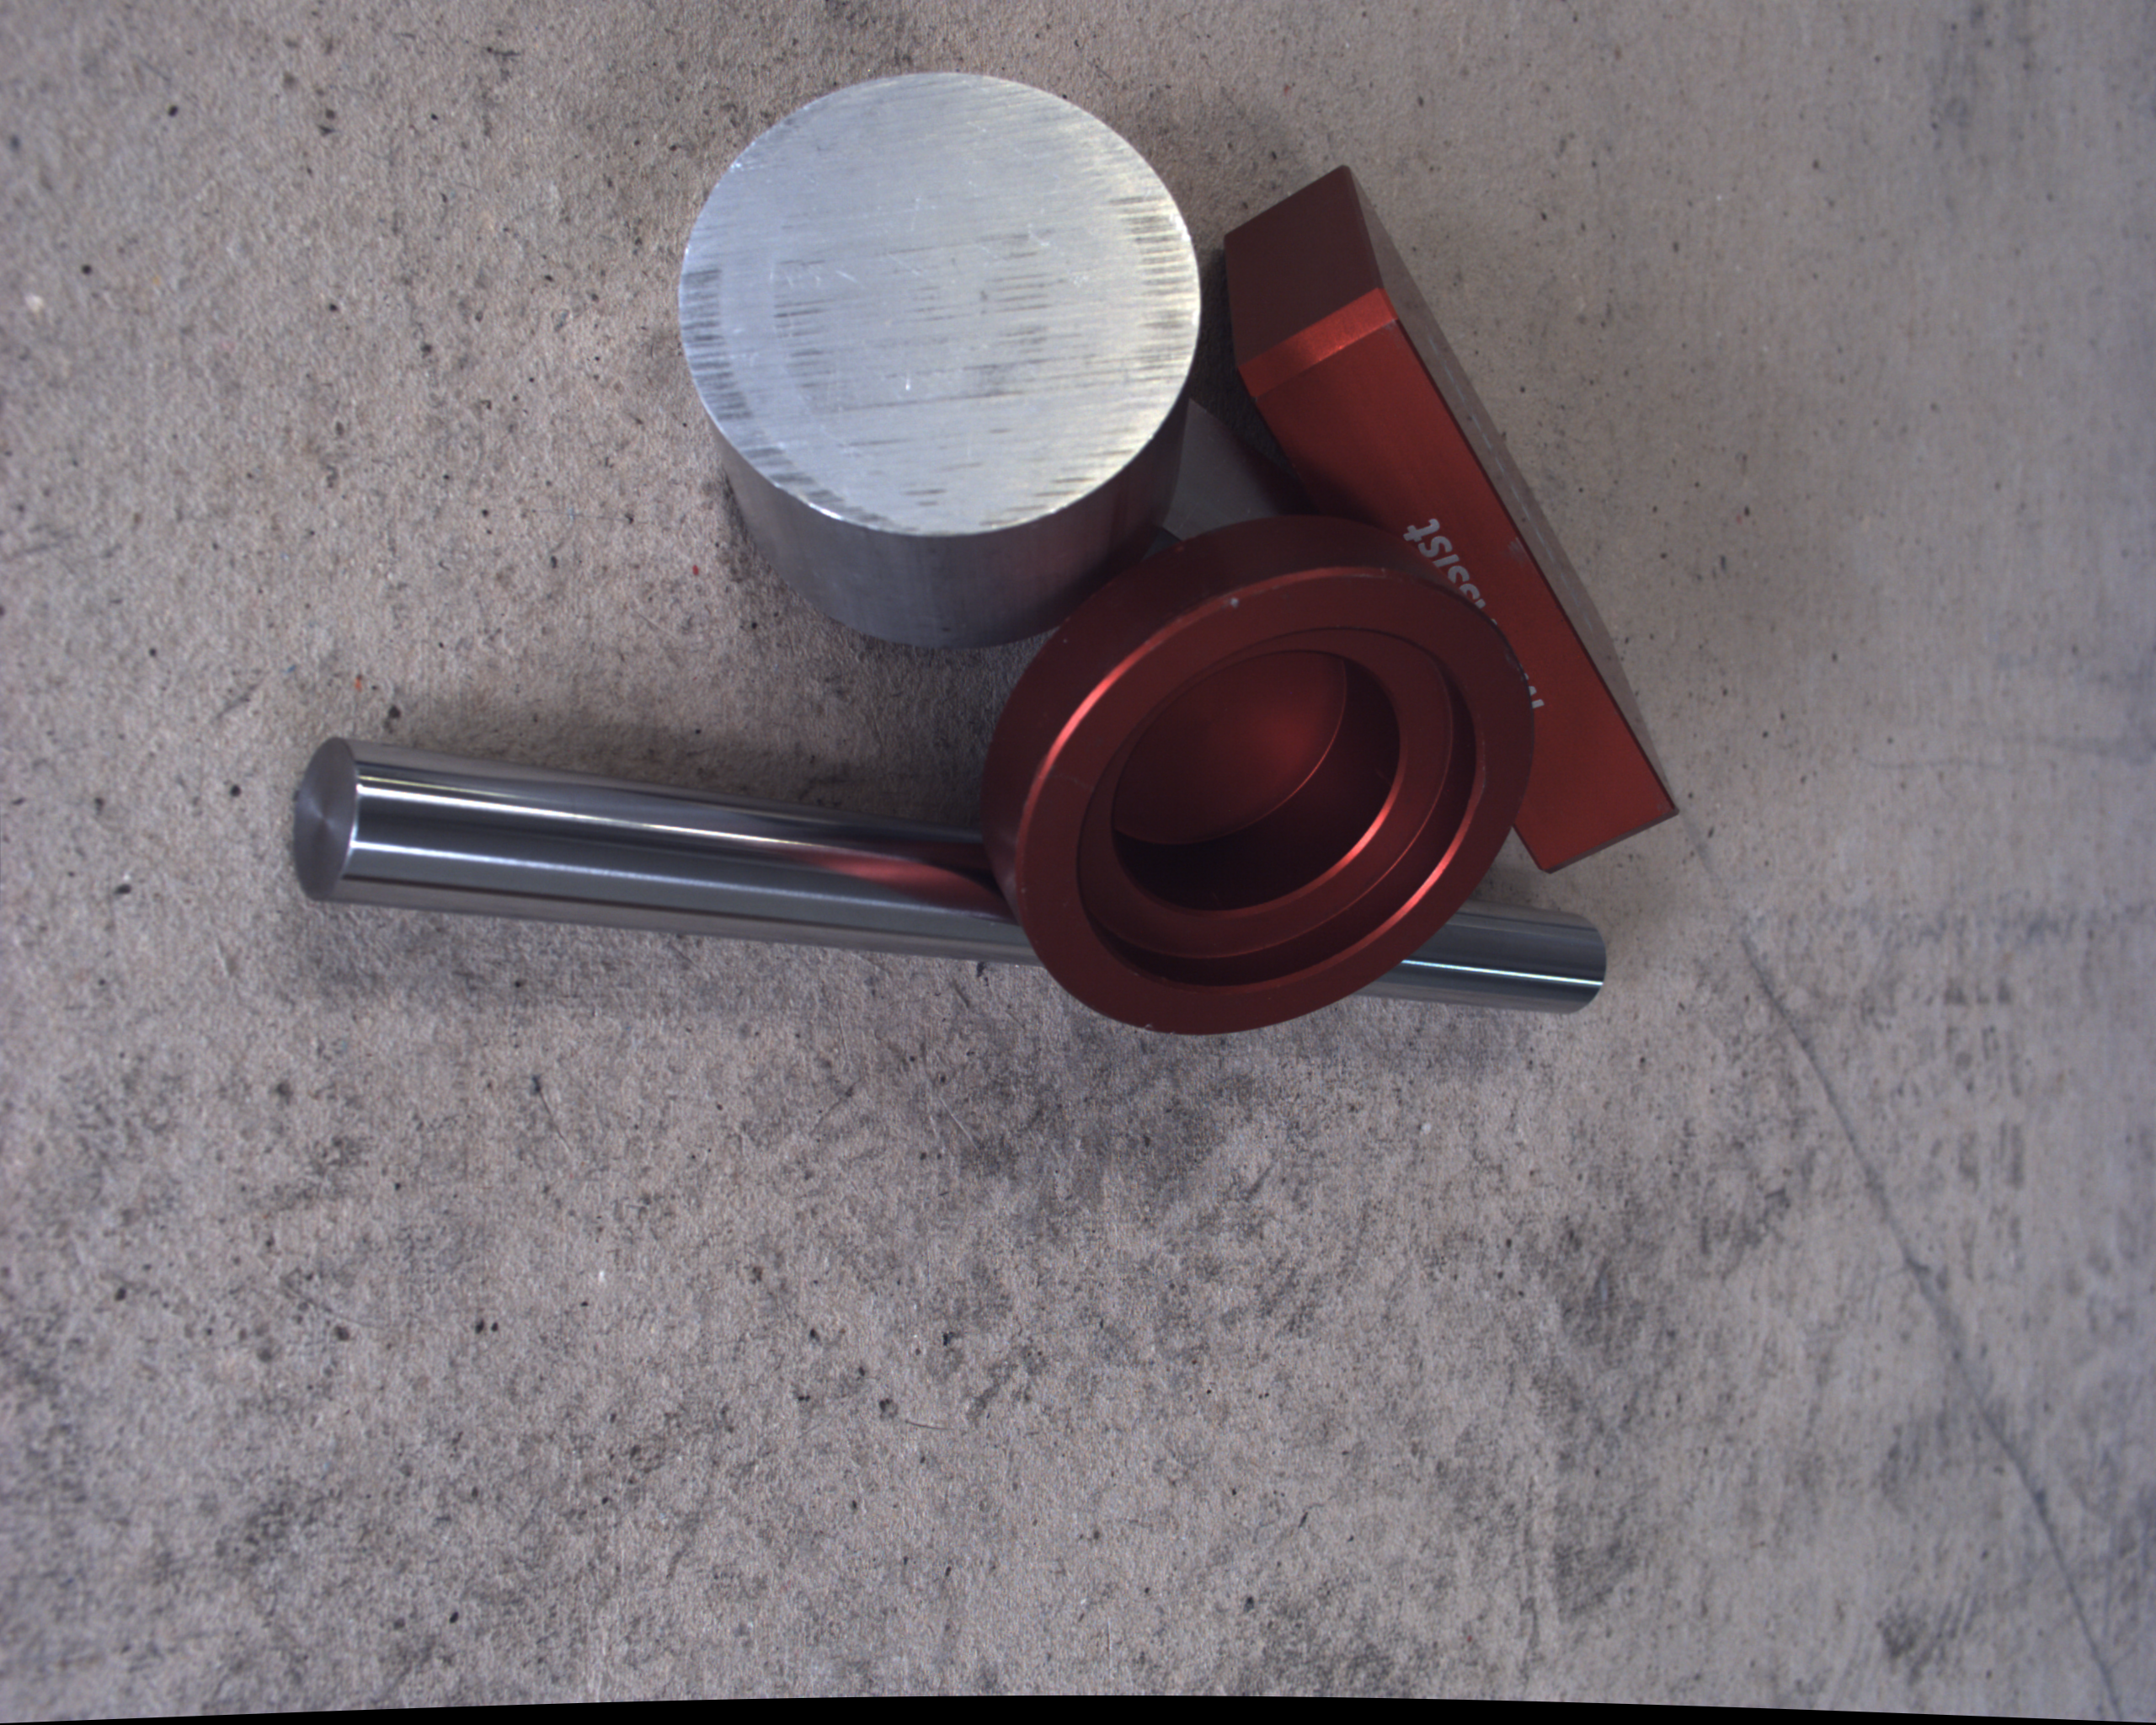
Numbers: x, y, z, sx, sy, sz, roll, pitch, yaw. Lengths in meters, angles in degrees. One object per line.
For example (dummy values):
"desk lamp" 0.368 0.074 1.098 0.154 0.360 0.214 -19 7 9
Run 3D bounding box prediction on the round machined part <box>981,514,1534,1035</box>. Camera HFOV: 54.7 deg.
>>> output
"round machined part" 0.029 -0.019 0.379 0.099 0.042 0.097 -13 129 -16

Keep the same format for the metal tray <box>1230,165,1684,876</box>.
"metal tray" 0.078 -0.071 0.435 0.130 0.030 0.090 53 21 -27

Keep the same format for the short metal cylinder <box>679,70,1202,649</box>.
"short metal cylinder" -0.021 -0.081 0.346 0.081 0.050 0.080 0 76 -1

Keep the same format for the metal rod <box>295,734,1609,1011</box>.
"metal rod" 0.003 0.009 0.408 0.302 0.025 0.025 8 85 -40

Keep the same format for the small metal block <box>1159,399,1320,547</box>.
"small metal block" 0.018 -0.062 0.403 0.050 0.050 0.025 30 72 -36
